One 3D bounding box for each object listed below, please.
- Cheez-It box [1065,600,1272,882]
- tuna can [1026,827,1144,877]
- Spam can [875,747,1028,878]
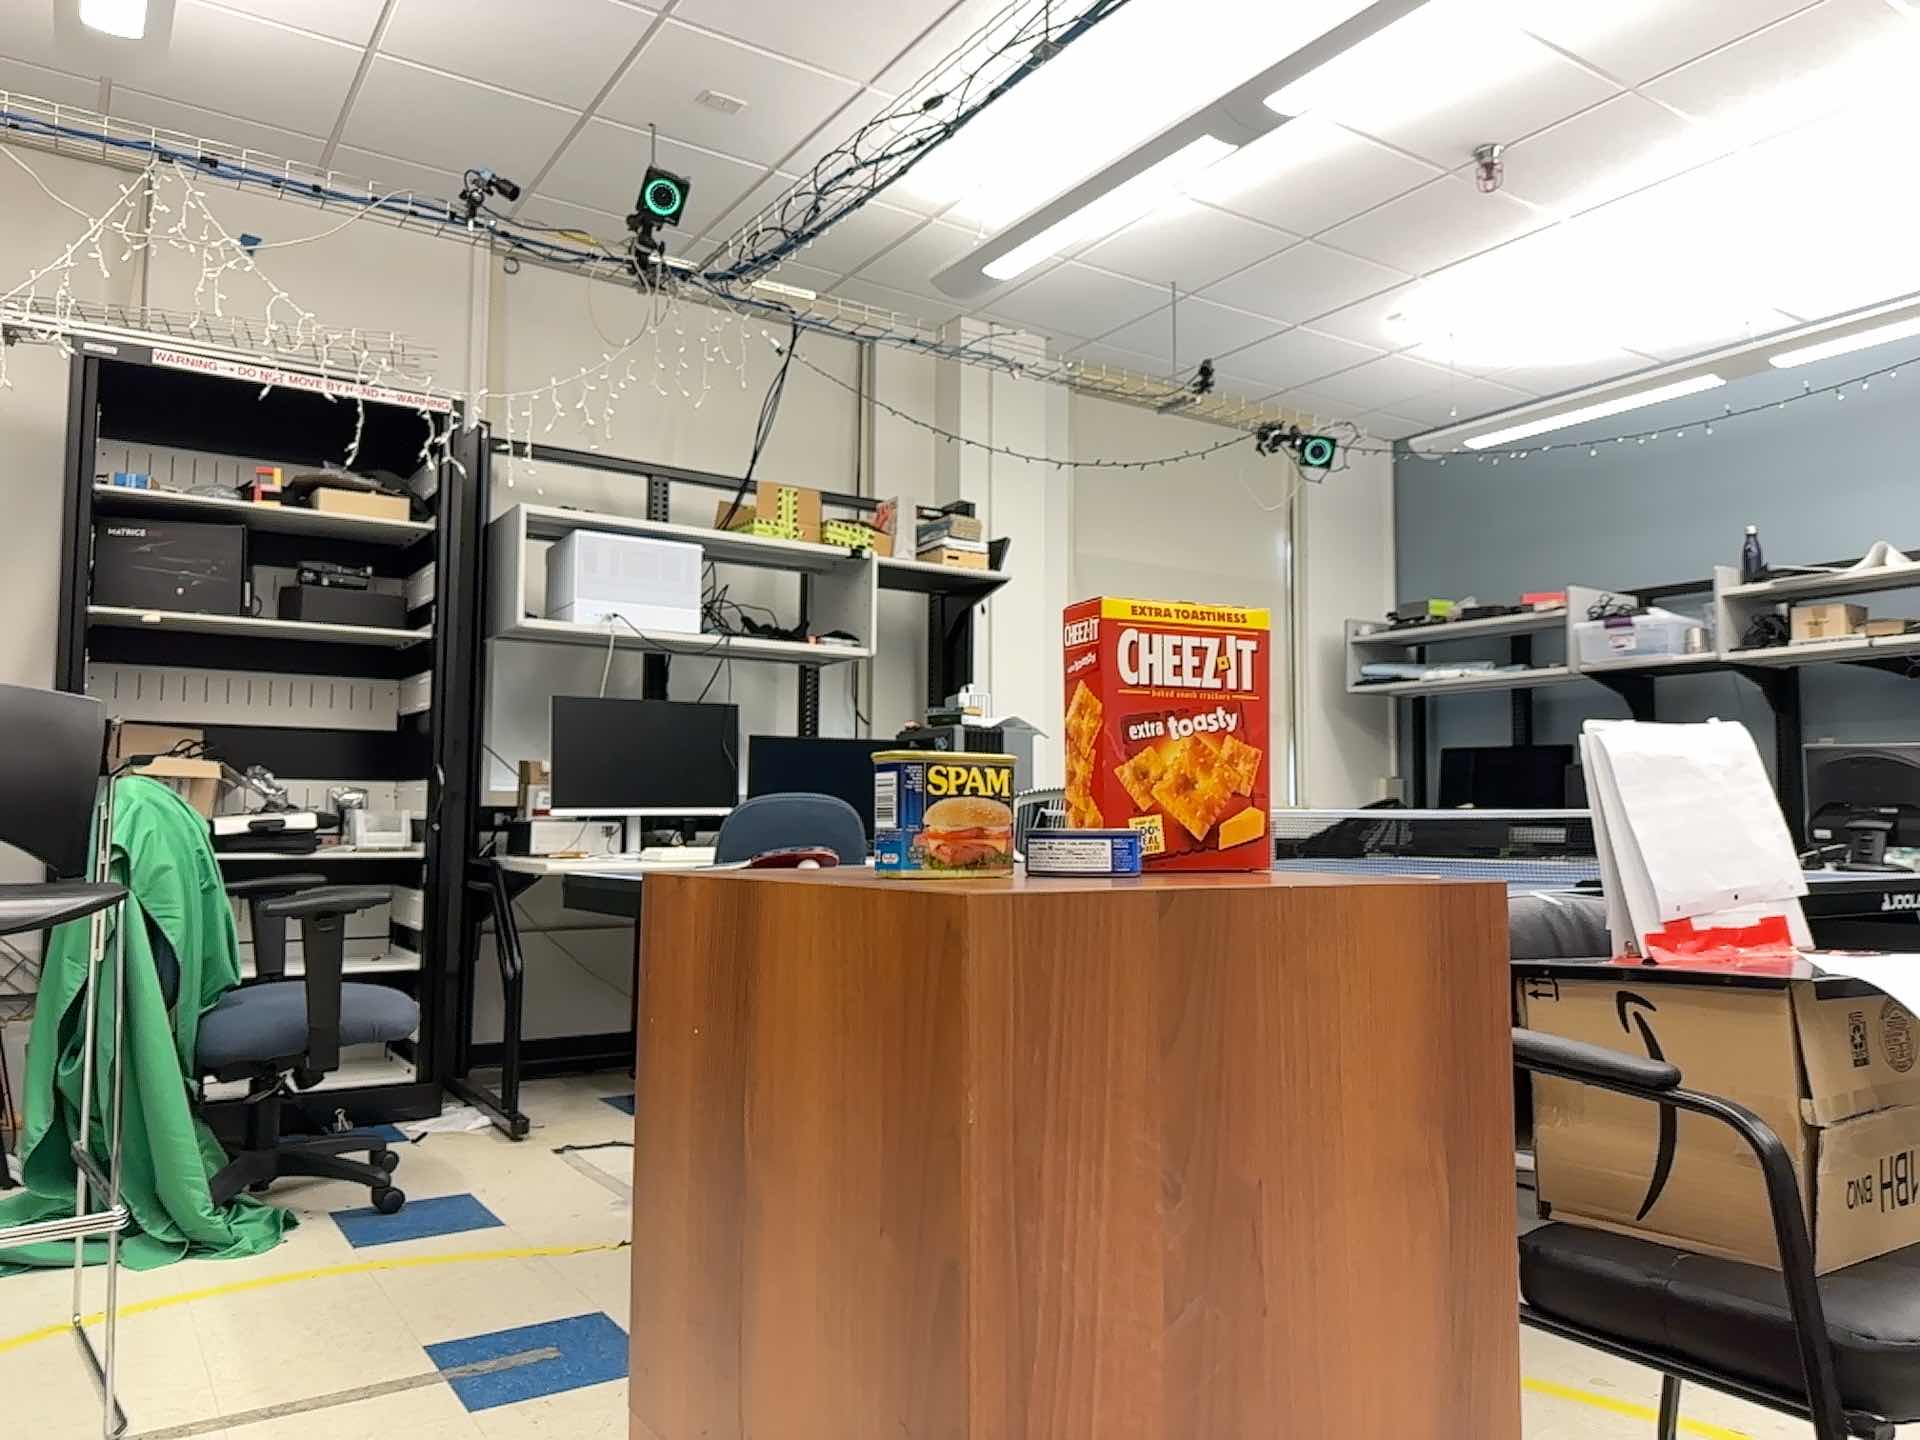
[{"bbox_3d":[0.171,0.020,1.107,0.159,0.214,0.062,3,-5,-27],"label":"Cheez-It box"},{"bbox_3d":[0.090,0.095,0.978,0.083,0.034,0.083,0,-6,0],"label":"tuna can"},{"bbox_3d":[-0.007,0.064,0.924,0.100,0.083,0.056,4,-6,-24],"label":"Spam can"}]
